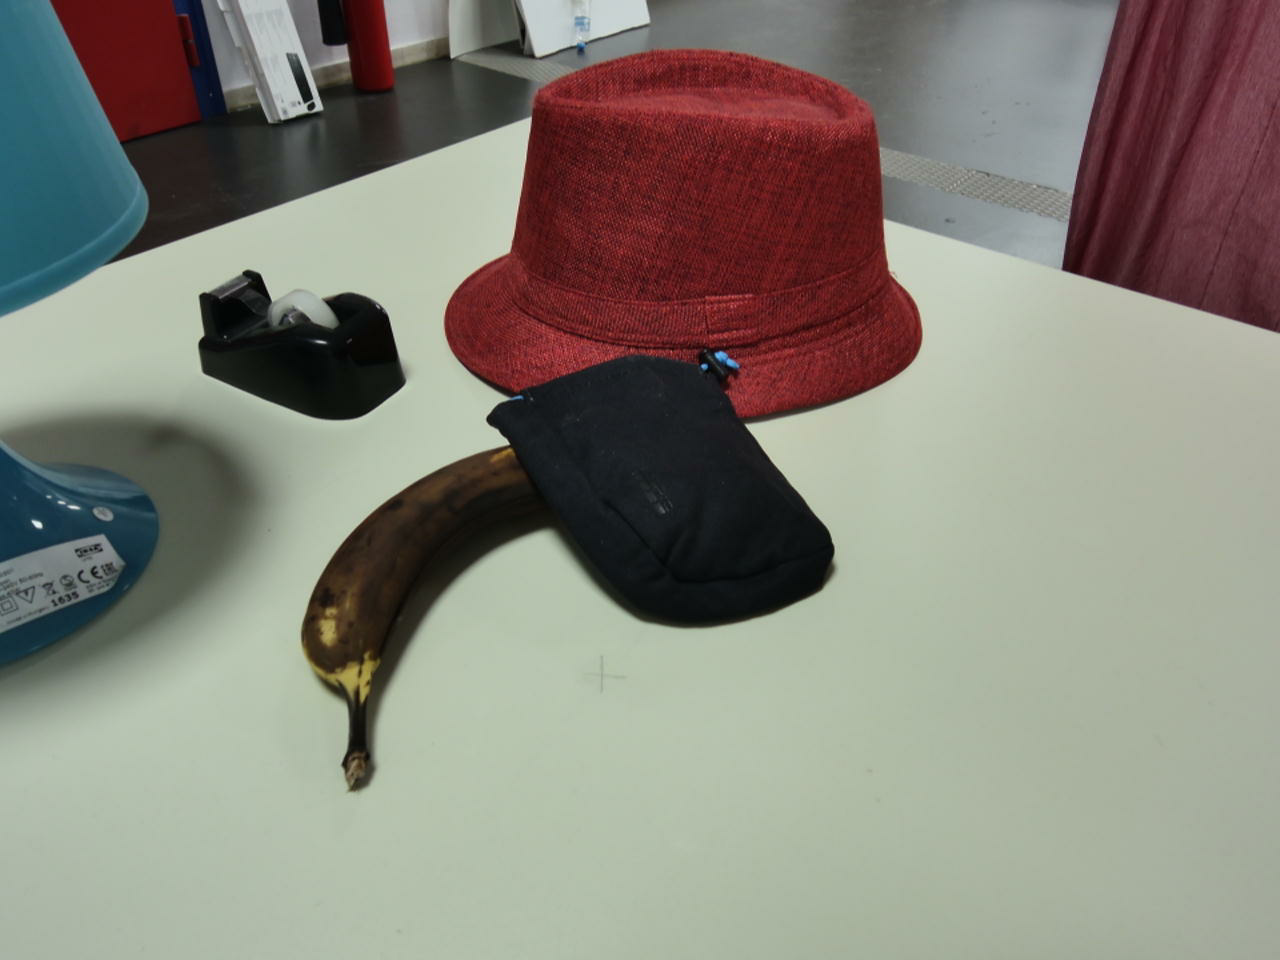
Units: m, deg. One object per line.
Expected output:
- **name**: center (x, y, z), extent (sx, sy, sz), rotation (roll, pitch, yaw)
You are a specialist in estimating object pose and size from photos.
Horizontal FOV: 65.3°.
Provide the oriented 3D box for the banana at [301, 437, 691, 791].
- **banana**: center (-0.066, 0.026, 0.392), extent (0.091, 0.034, 0.188), rotation (26, 43, 30)
